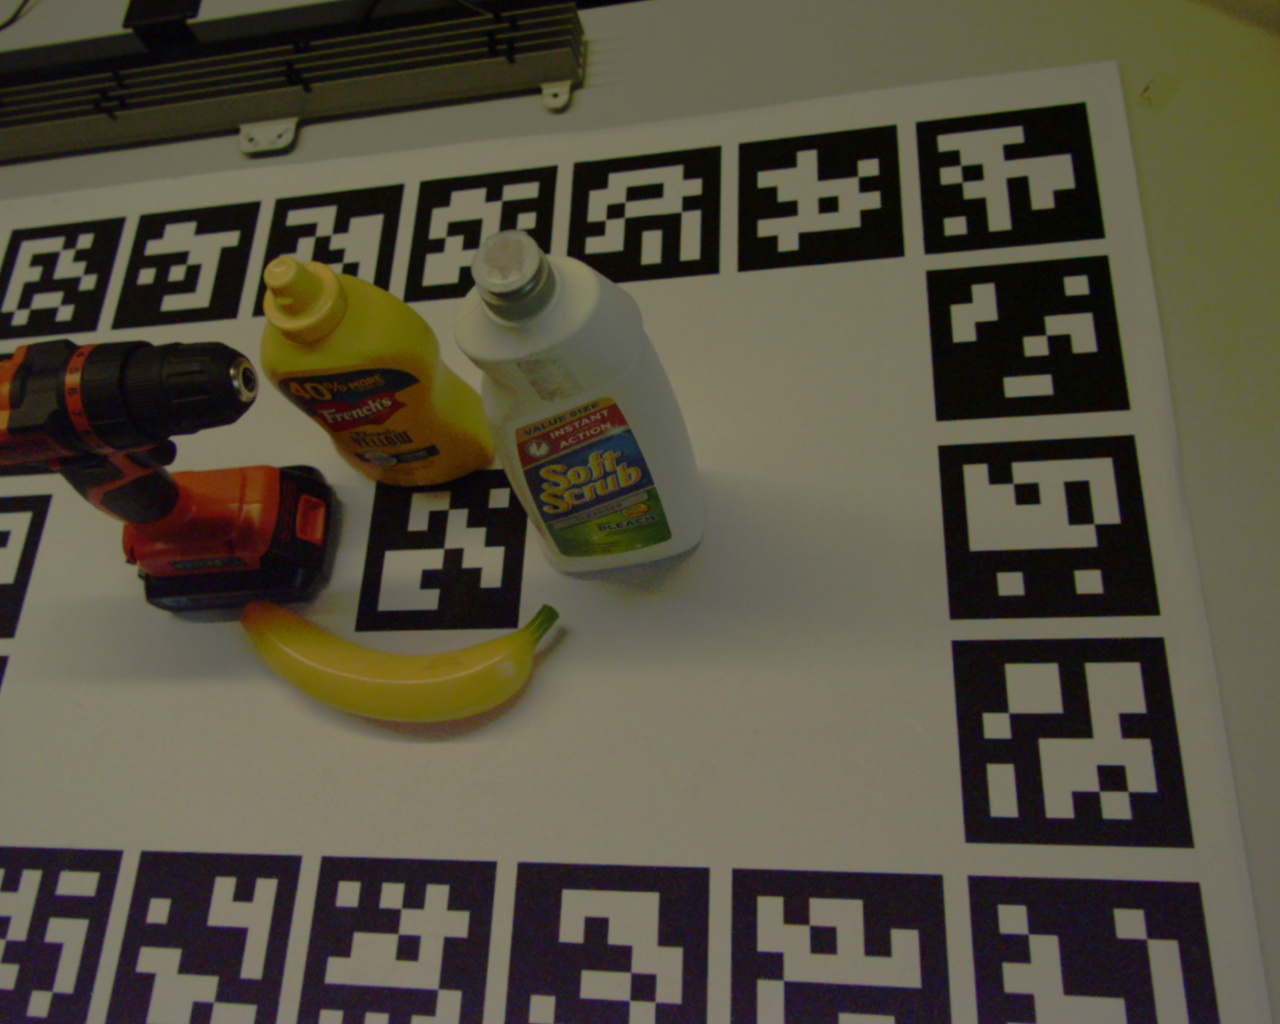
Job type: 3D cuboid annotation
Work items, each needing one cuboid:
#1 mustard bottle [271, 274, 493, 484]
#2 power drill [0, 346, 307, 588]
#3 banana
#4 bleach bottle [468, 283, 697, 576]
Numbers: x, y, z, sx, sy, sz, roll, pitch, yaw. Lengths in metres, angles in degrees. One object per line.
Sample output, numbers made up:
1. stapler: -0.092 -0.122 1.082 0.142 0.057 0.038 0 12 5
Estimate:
1. mustard bottle: -0.157 -0.078 0.662 0.097 0.190 0.058 -2 67 11
2. power drill: -0.262 -0.023 0.644 0.185 0.185 0.057 -5 60 8
3. banana: -0.142 0.082 0.673 0.199 0.038 0.074 -1 72 15
4. bleach bottle: -0.036 -0.039 0.593 0.103 0.249 0.068 -11 67 8
